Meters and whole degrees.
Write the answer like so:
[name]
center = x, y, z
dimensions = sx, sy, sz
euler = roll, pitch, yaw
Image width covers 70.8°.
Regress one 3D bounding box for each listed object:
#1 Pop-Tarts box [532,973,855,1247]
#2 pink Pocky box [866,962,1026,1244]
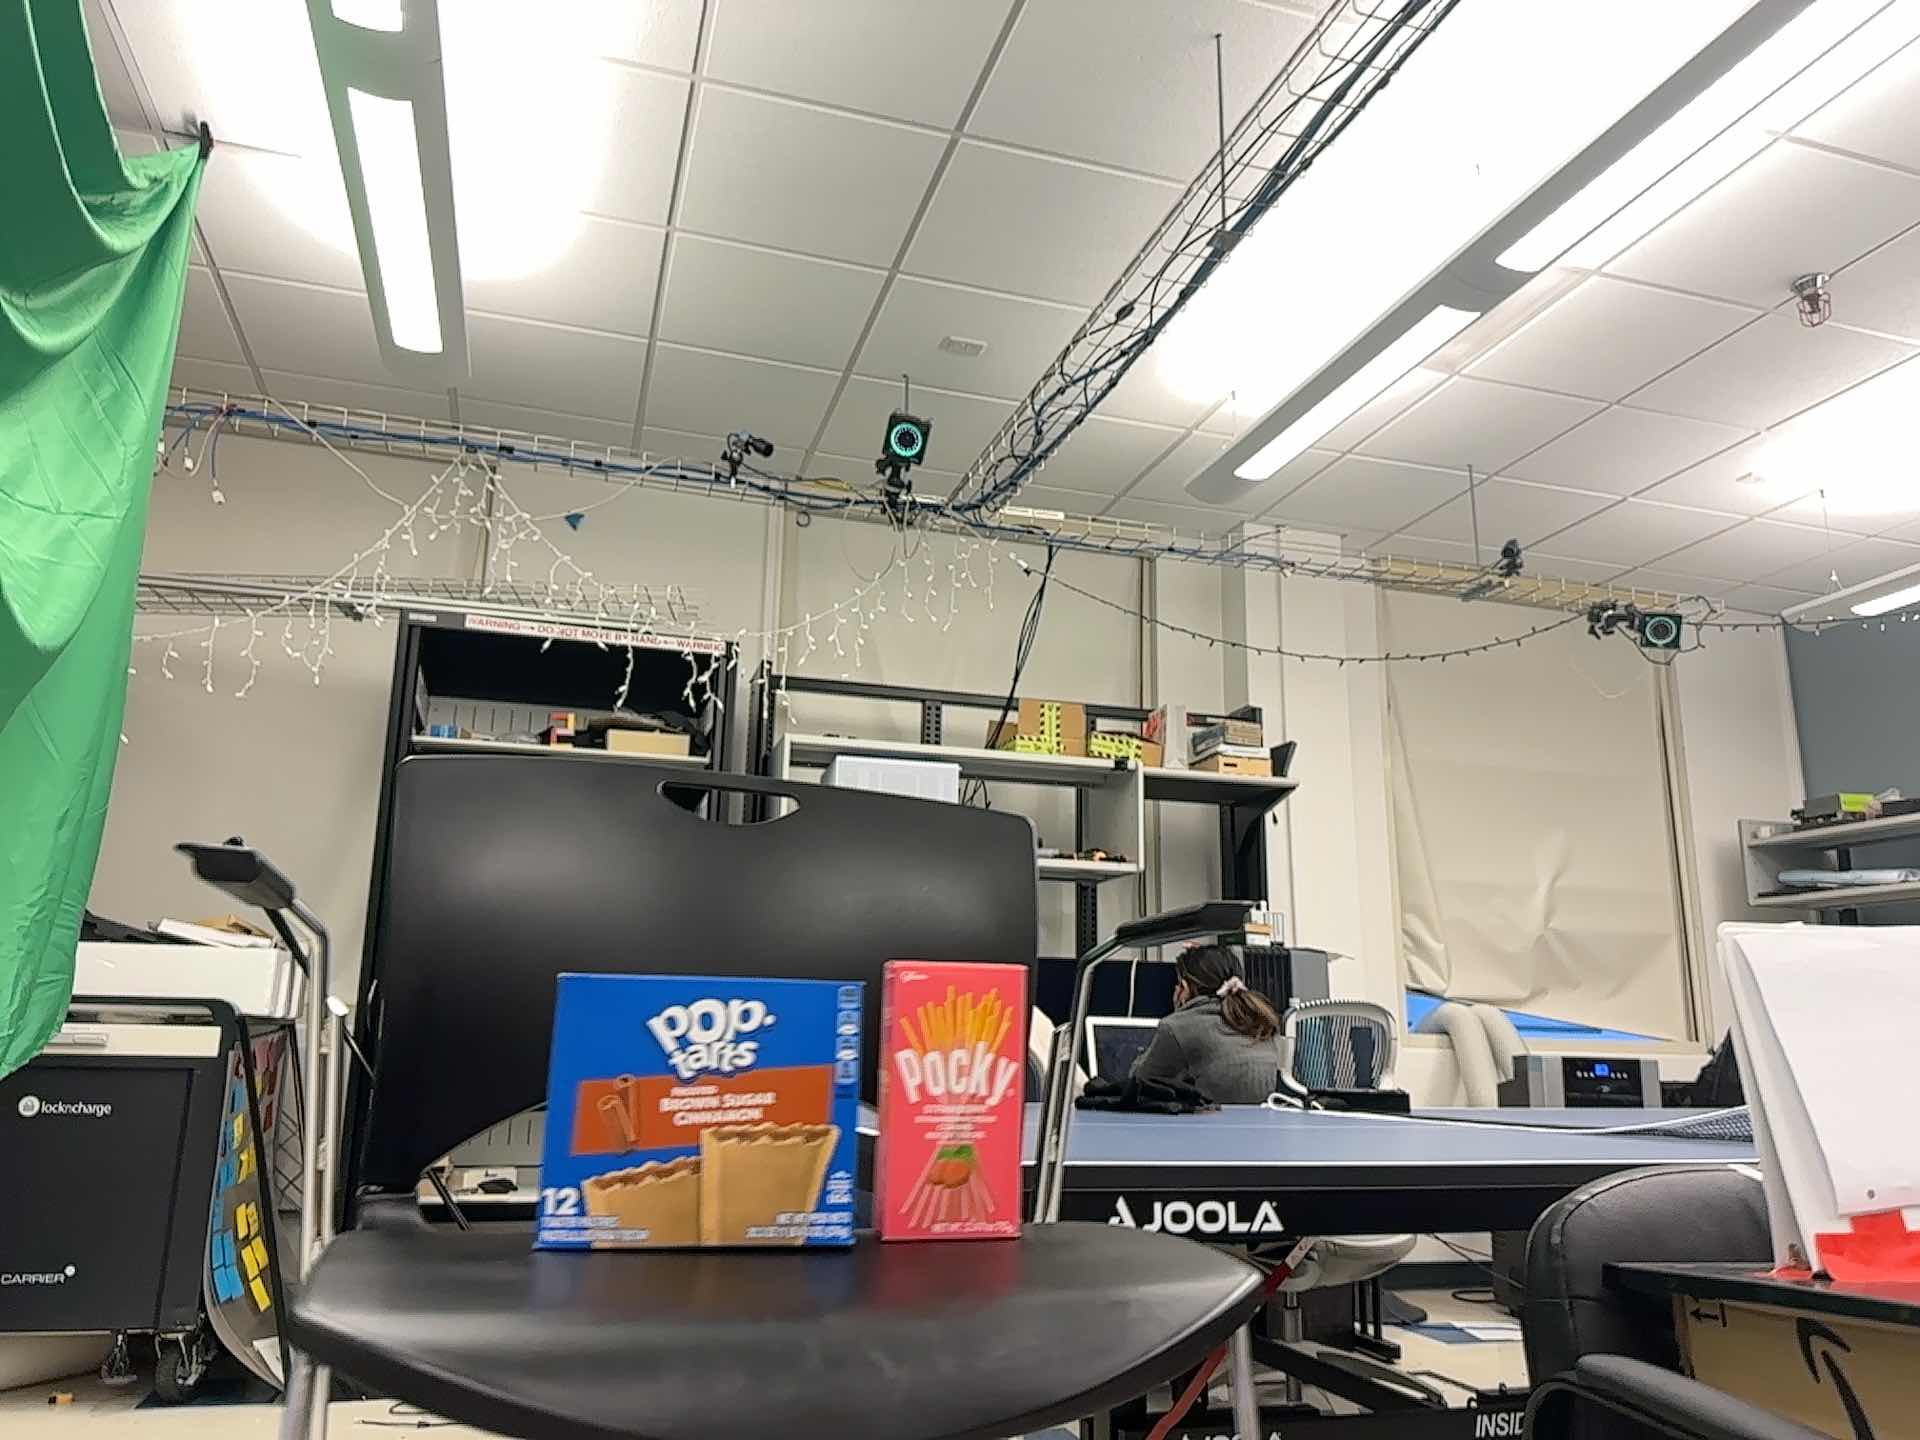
[Pop-Tarts box]
center = -0.150, 0.219, 0.767
dimensions = 0.161, 0.135, 0.075
euler = 5, -14, -16
[pink Pocky box]
center = -0.007, 0.220, 0.785
dimensions = 0.084, 0.155, 0.029
euler = 6, -9, -20
